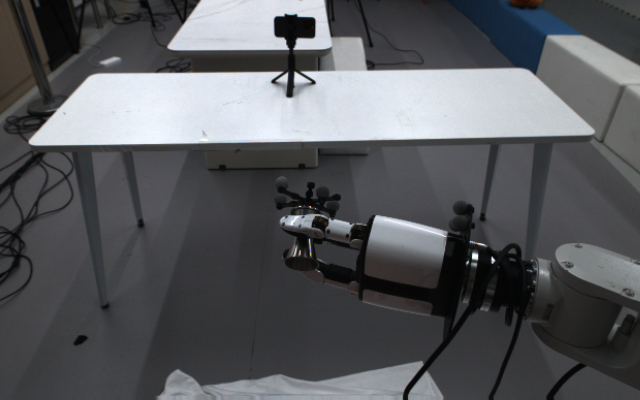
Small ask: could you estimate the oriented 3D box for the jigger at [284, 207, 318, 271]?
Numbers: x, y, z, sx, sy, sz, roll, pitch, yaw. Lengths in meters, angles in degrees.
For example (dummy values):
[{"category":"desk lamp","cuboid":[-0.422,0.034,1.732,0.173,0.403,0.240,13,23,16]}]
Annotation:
[{"category":"jigger","cuboid":[-0.020,0.044,0.585,0.043,0.043,0.071,4,60,3]}]
